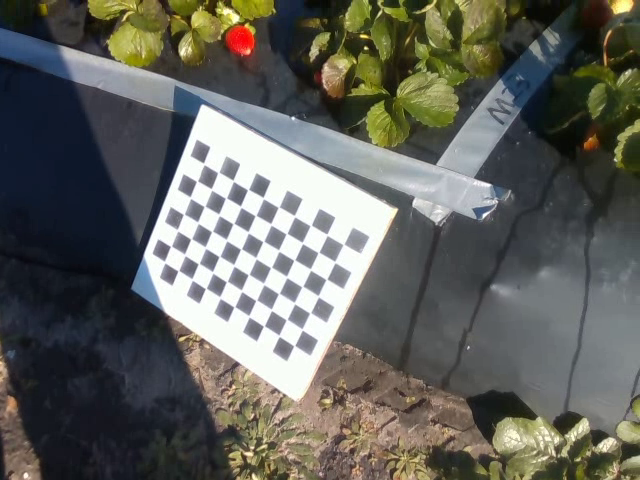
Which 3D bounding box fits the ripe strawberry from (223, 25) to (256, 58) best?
[{"bbox_3d":[-0.115,-0.273,0.766,0.045,0.059,0.042,-36,-24,21],"label":"ripe strawberry"}]
